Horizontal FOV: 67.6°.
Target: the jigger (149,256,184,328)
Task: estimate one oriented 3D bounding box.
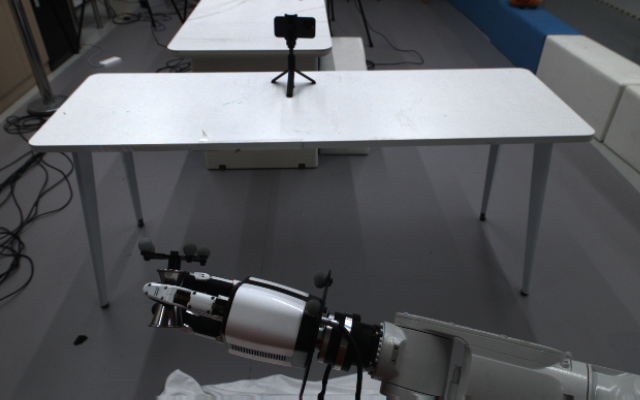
[{"bbox_3d":[-0.184,0.121,0.594,0.043,0.043,0.071,3,76,1],"label":"jigger"}]
